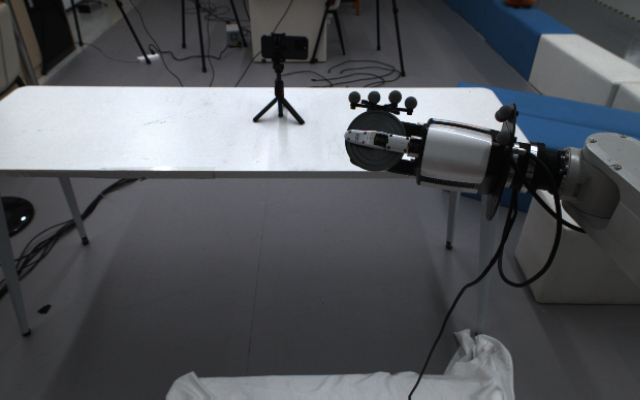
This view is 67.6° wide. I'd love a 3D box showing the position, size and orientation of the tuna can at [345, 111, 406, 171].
[{"bbox_3d":[0.080,-0.086,0.684,0.085,0.085,0.034,11,2,12],"label":"tuna can"}]
